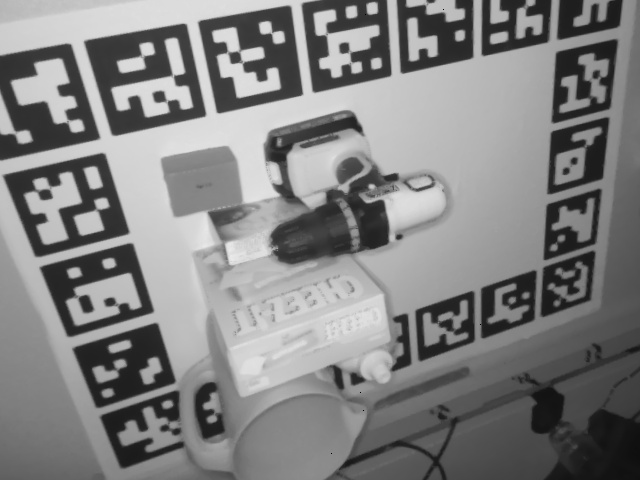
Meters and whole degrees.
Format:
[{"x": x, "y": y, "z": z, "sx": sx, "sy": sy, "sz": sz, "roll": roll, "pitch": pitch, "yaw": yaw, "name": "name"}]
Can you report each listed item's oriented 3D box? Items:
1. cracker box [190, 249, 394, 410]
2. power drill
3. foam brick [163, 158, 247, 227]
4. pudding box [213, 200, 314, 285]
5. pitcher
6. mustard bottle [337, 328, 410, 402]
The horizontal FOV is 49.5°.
[{"x": -0.040, "y": 0.068, "z": 0.761, "sx": 0.166, "sy": 0.213, "sz": 0.071, "roll": -18, "pitch": 121, "yaw": -14, "name": "cracker box"}, {"x": 0.016, "y": -0.040, "z": 0.714, "sx": 0.186, "sy": 0.187, "sz": 0.057, "roll": -16, "pitch": 122, "yaw": -12, "name": "power drill"}, {"x": -0.128, "y": -0.054, "z": 0.772, "sx": 0.079, "sy": 0.051, "sz": 0.052, "roll": -13, "pitch": 116, "yaw": -14, "name": "foam brick"}, {"x": -0.055, "y": 0.001, "z": 0.787, "sx": 0.115, "sy": 0.090, "sz": 0.038, "roll": -16, "pitch": 120, "yaw": -16, "name": "pudding box"}, {"x": -0.069, "y": 0.171, "z": 0.792, "sx": 0.191, "sy": 0.242, "sz": 0.132, "roll": -10, "pitch": 117, "yaw": -18, "name": "pitcher"}, {"x": 0.054, "y": 0.131, "z": 0.834, "sx": 0.097, "sy": 0.191, "sz": 0.058, "roll": -3, "pitch": 114, "yaw": -19, "name": "mustard bottle"}]
